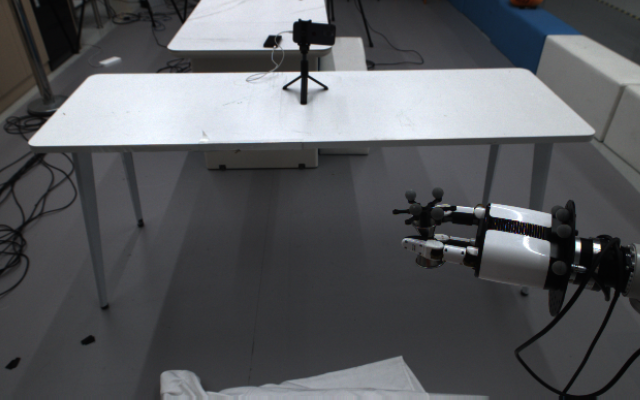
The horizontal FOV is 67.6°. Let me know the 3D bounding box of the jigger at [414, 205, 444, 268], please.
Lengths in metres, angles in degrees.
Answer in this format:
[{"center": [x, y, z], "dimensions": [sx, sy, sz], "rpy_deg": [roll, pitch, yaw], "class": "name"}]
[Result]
[{"center": [0.160, 0.057, 0.716], "dimensions": [0.043, 0.071, 0.043], "rpy_deg": [-11, 23, 5], "class": "jigger"}]
